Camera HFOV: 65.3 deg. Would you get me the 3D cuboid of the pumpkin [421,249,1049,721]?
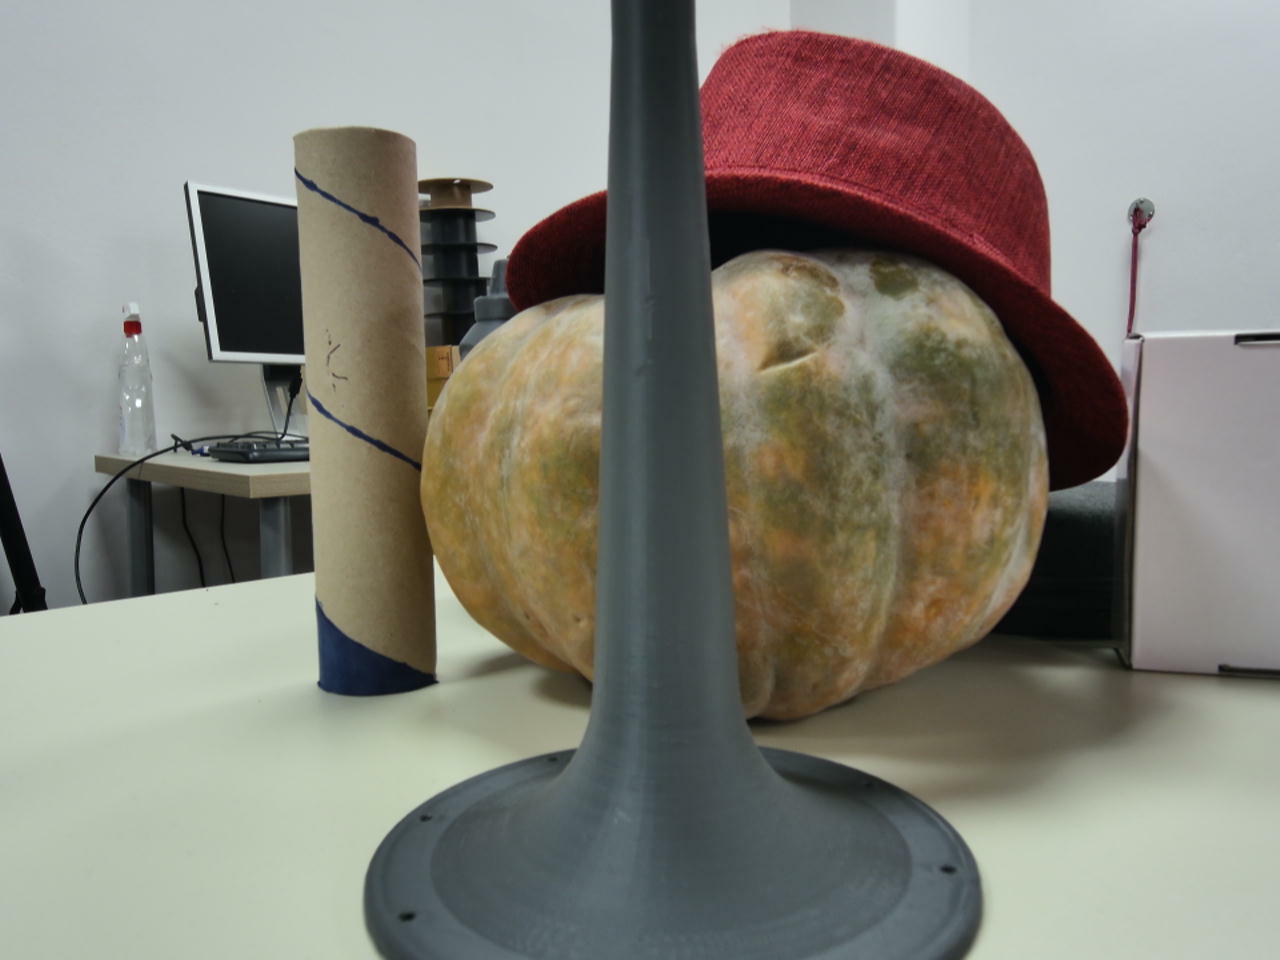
[{"bbox_3d":[0.039,0.001,0.414,0.252,0.168,0.252,0,3,0],"label":"pumpkin"}]
